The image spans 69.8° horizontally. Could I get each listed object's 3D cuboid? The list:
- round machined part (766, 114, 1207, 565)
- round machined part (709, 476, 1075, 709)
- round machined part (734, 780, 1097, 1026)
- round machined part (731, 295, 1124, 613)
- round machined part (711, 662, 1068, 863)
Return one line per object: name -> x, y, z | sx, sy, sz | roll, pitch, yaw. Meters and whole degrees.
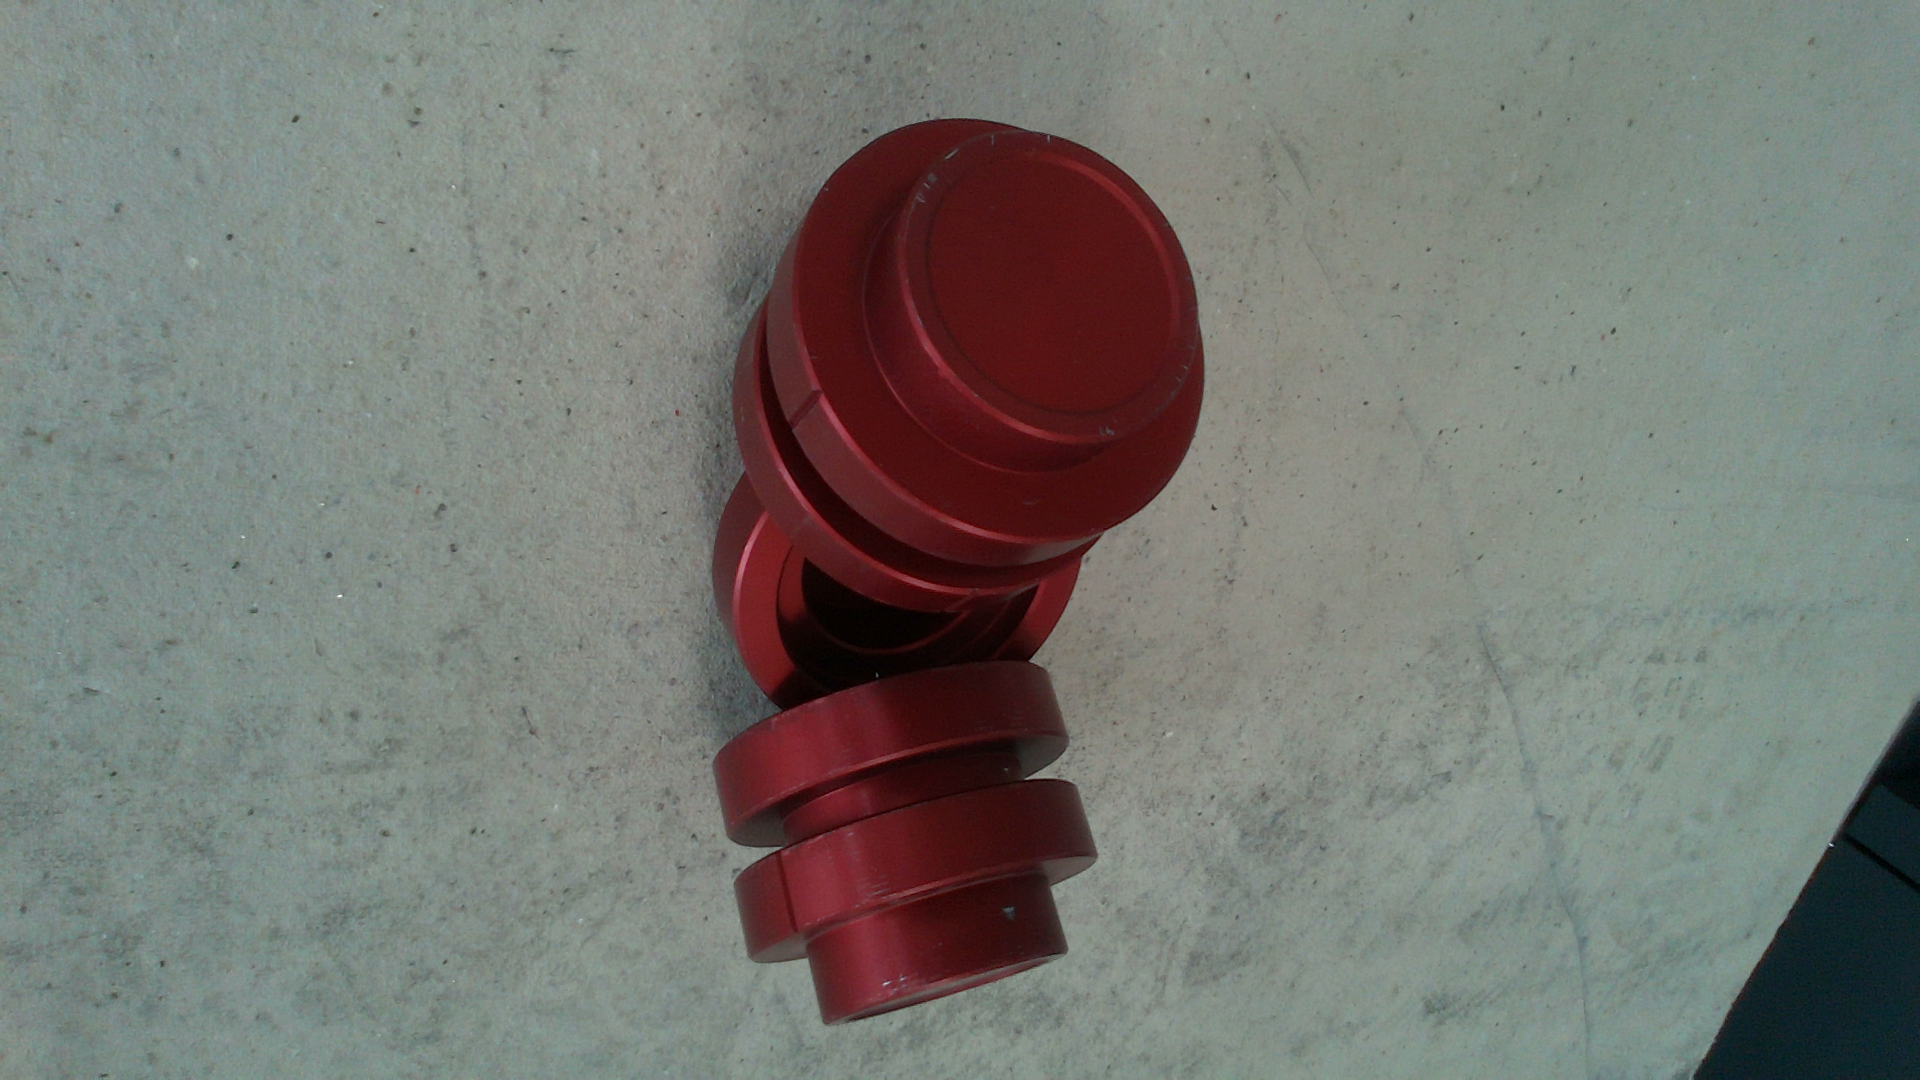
round machined part -> 0.012, -0.047, 0.294 | 0.098, 0.042, 0.098 | 7, 73, -22
round machined part -> -0.020, 0.000, 0.369 | 0.098, 0.042, 0.098 | -14, 124, -21
round machined part -> -0.009, 0.101, 0.374 | 0.098, 0.042, 0.098 | -15, 159, -5
round machined part -> 0.000, -0.035, 0.321 | 0.098, 0.042, 0.098 | 7, 73, -23
round machined part -> -0.016, 0.071, 0.381 | 0.098, 0.042, 0.098 | -14, 160, -5
